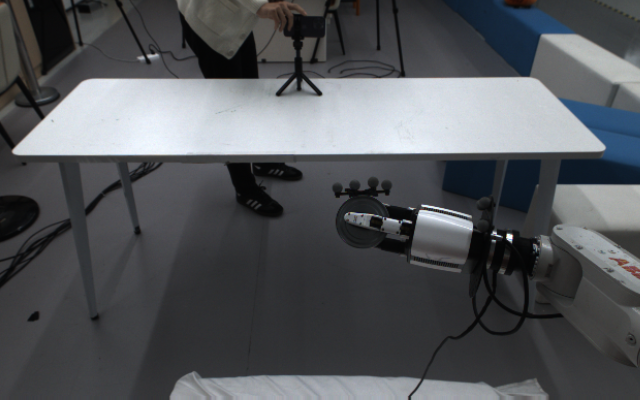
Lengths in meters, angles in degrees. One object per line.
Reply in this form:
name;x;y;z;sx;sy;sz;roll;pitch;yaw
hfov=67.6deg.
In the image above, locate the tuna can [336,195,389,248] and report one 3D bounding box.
tuna can;0.070;0.036;0.775;0.085;0.085;0.034;10;-6;11
